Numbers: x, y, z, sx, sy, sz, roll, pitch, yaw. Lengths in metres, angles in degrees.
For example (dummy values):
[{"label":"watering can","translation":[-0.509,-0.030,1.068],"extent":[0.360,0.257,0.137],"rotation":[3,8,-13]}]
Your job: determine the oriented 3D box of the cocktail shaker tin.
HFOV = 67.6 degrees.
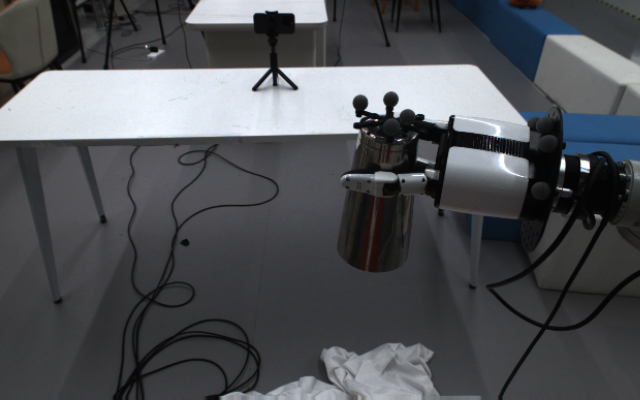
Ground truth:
[{"label":"cocktail shaker tin","translation":[0.075,-0.012,0.583],"extent":[0.093,0.170,0.093],"rotation":[3,33,-2]}]
